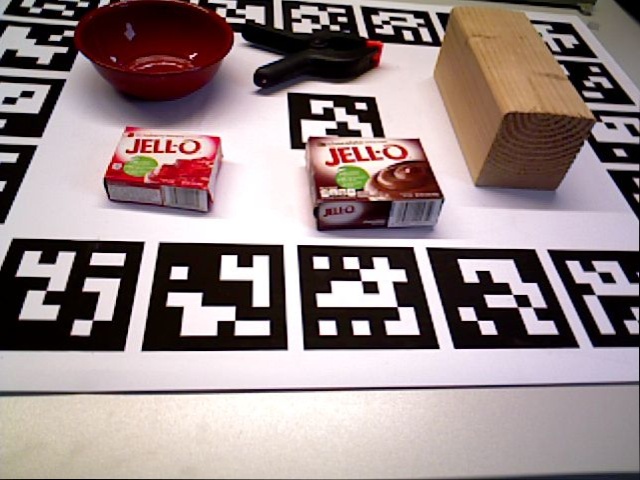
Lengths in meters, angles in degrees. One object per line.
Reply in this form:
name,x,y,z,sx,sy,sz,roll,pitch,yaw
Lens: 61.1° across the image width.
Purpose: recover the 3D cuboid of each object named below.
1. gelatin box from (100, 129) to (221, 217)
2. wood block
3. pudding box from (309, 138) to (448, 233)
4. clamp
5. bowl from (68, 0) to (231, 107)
gelatin box,-0.136,-0.061,0.473,0.089,0.031,0.072,7,50,-3
wood block,0.197,-0.152,0.566,0.089,0.093,0.203,3,49,-8
pudding box,0.049,-0.050,0.490,0.113,0.039,0.089,-1,53,-7
clamp,-0.024,-0.213,0.633,0.163,0.037,0.120,-7,50,-17
bowl,-0.176,-0.192,0.575,0.160,0.056,0.159,5,51,-7
